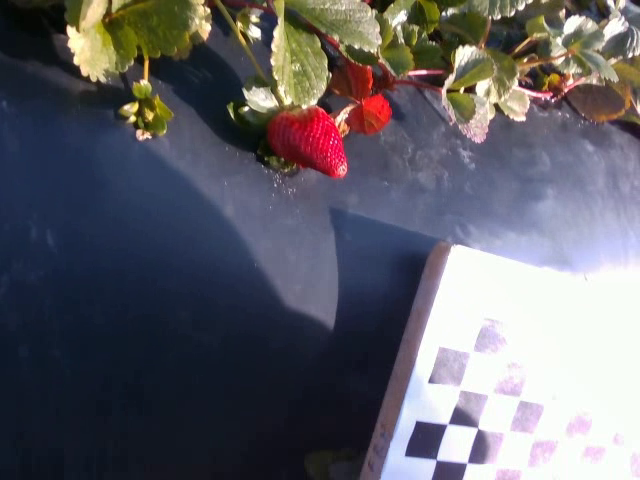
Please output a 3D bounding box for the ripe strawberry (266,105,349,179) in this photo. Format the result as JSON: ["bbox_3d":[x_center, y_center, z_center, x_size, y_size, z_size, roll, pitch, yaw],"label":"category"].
[{"bbox_3d":[-0.004,-0.050,0.311,0.040,0.056,0.041,-35,-24,-11],"label":"ripe strawberry"}]
